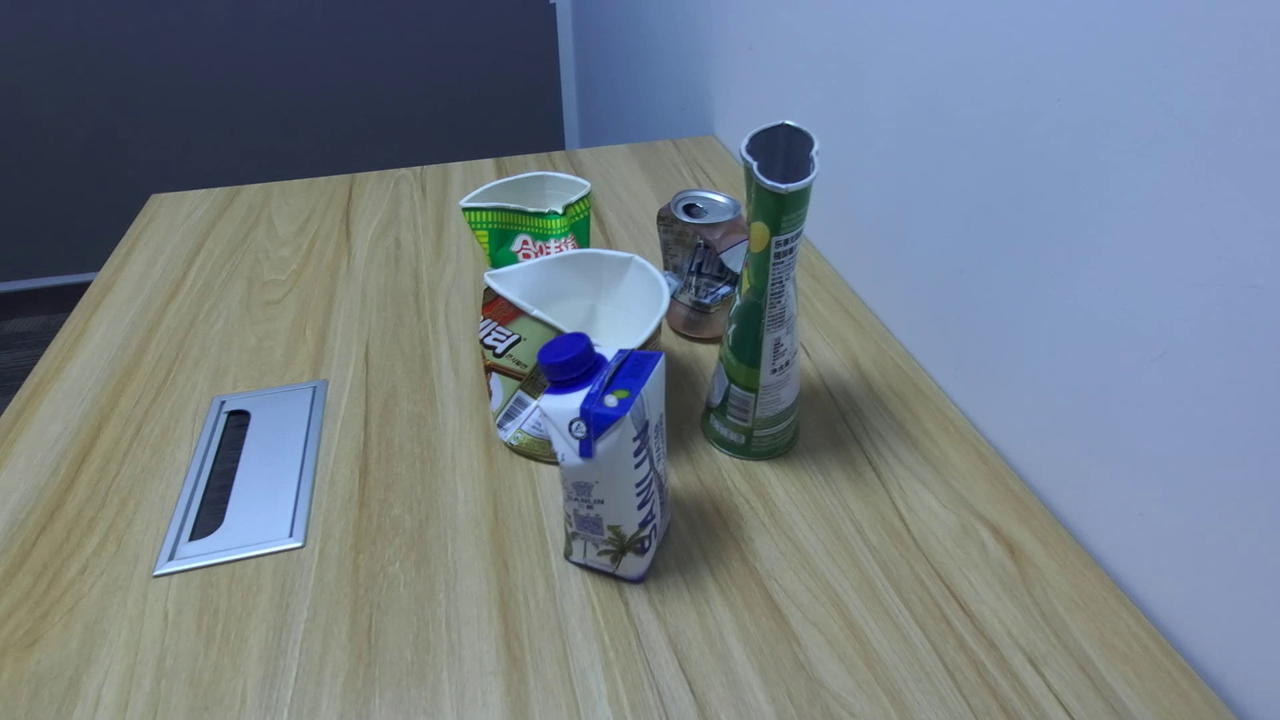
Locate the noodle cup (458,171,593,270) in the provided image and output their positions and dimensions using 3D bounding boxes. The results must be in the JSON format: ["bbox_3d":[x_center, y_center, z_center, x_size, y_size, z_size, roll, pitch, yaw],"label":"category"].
[{"bbox_3d":[-0.080,-0.085,0.577,0.082,0.122,0.075,7,31,25],"label":"noodle cup"}]

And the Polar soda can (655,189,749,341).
[{"bbox_3d":[0.053,-0.074,0.564,0.074,0.114,0.070,-4,45,-1],"label":"Polar soda can"}]

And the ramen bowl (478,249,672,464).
[{"bbox_3d":[-0.041,-0.002,0.485,0.137,0.098,0.137,1,41,-1],"label":"ramen bowl"}]

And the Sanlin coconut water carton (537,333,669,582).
[{"bbox_3d":[-0.016,0.051,0.382,0.057,0.142,0.078,8,38,21],"label":"Sanlin coconut water carton"}]

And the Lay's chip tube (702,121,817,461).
[{"bbox_3d":[0.077,-0.032,0.432,0.069,0.200,0.074,-21,43,-24],"label":"Lay's chip tube"}]
